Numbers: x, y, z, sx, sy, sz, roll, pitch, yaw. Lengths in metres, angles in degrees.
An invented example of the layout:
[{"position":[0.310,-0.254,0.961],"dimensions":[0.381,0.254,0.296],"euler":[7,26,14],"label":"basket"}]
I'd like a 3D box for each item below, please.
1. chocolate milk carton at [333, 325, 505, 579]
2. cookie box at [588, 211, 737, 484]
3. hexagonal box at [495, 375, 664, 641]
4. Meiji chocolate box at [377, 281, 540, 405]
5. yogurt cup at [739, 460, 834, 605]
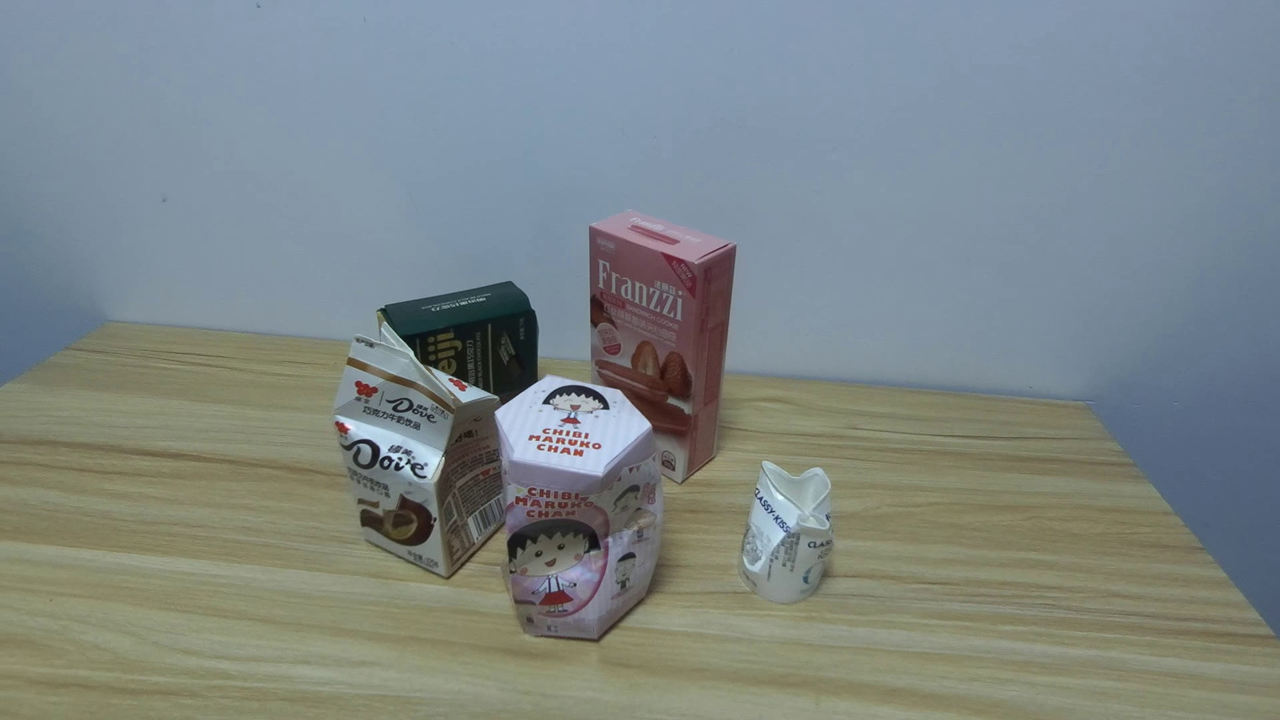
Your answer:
[{"position":[-0.136,0.051,0.446],"dimensions":[0.076,0.155,0.074],"euler":[18,35,21],"label":"chocolate milk carton"},{"position":[0.012,-0.007,0.525],"dimensions":[0.095,0.185,0.048],"euler":[24,38,32],"label":"cookie box"},{"position":[-0.042,0.088,0.412],"dimensions":[0.089,0.135,0.093],"euler":[-14,35,-26],"label":"hexagonal box"},{"position":[-0.143,0.003,0.567],"dimensions":[0.123,0.116,0.058],"euler":[-13,34,-26],"label":"Meiji chocolate box"},{"position":[0.095,0.109,0.445],"dimensions":[0.055,0.072,0.055],"euler":[11,33,10],"label":"yogurt cup"}]
